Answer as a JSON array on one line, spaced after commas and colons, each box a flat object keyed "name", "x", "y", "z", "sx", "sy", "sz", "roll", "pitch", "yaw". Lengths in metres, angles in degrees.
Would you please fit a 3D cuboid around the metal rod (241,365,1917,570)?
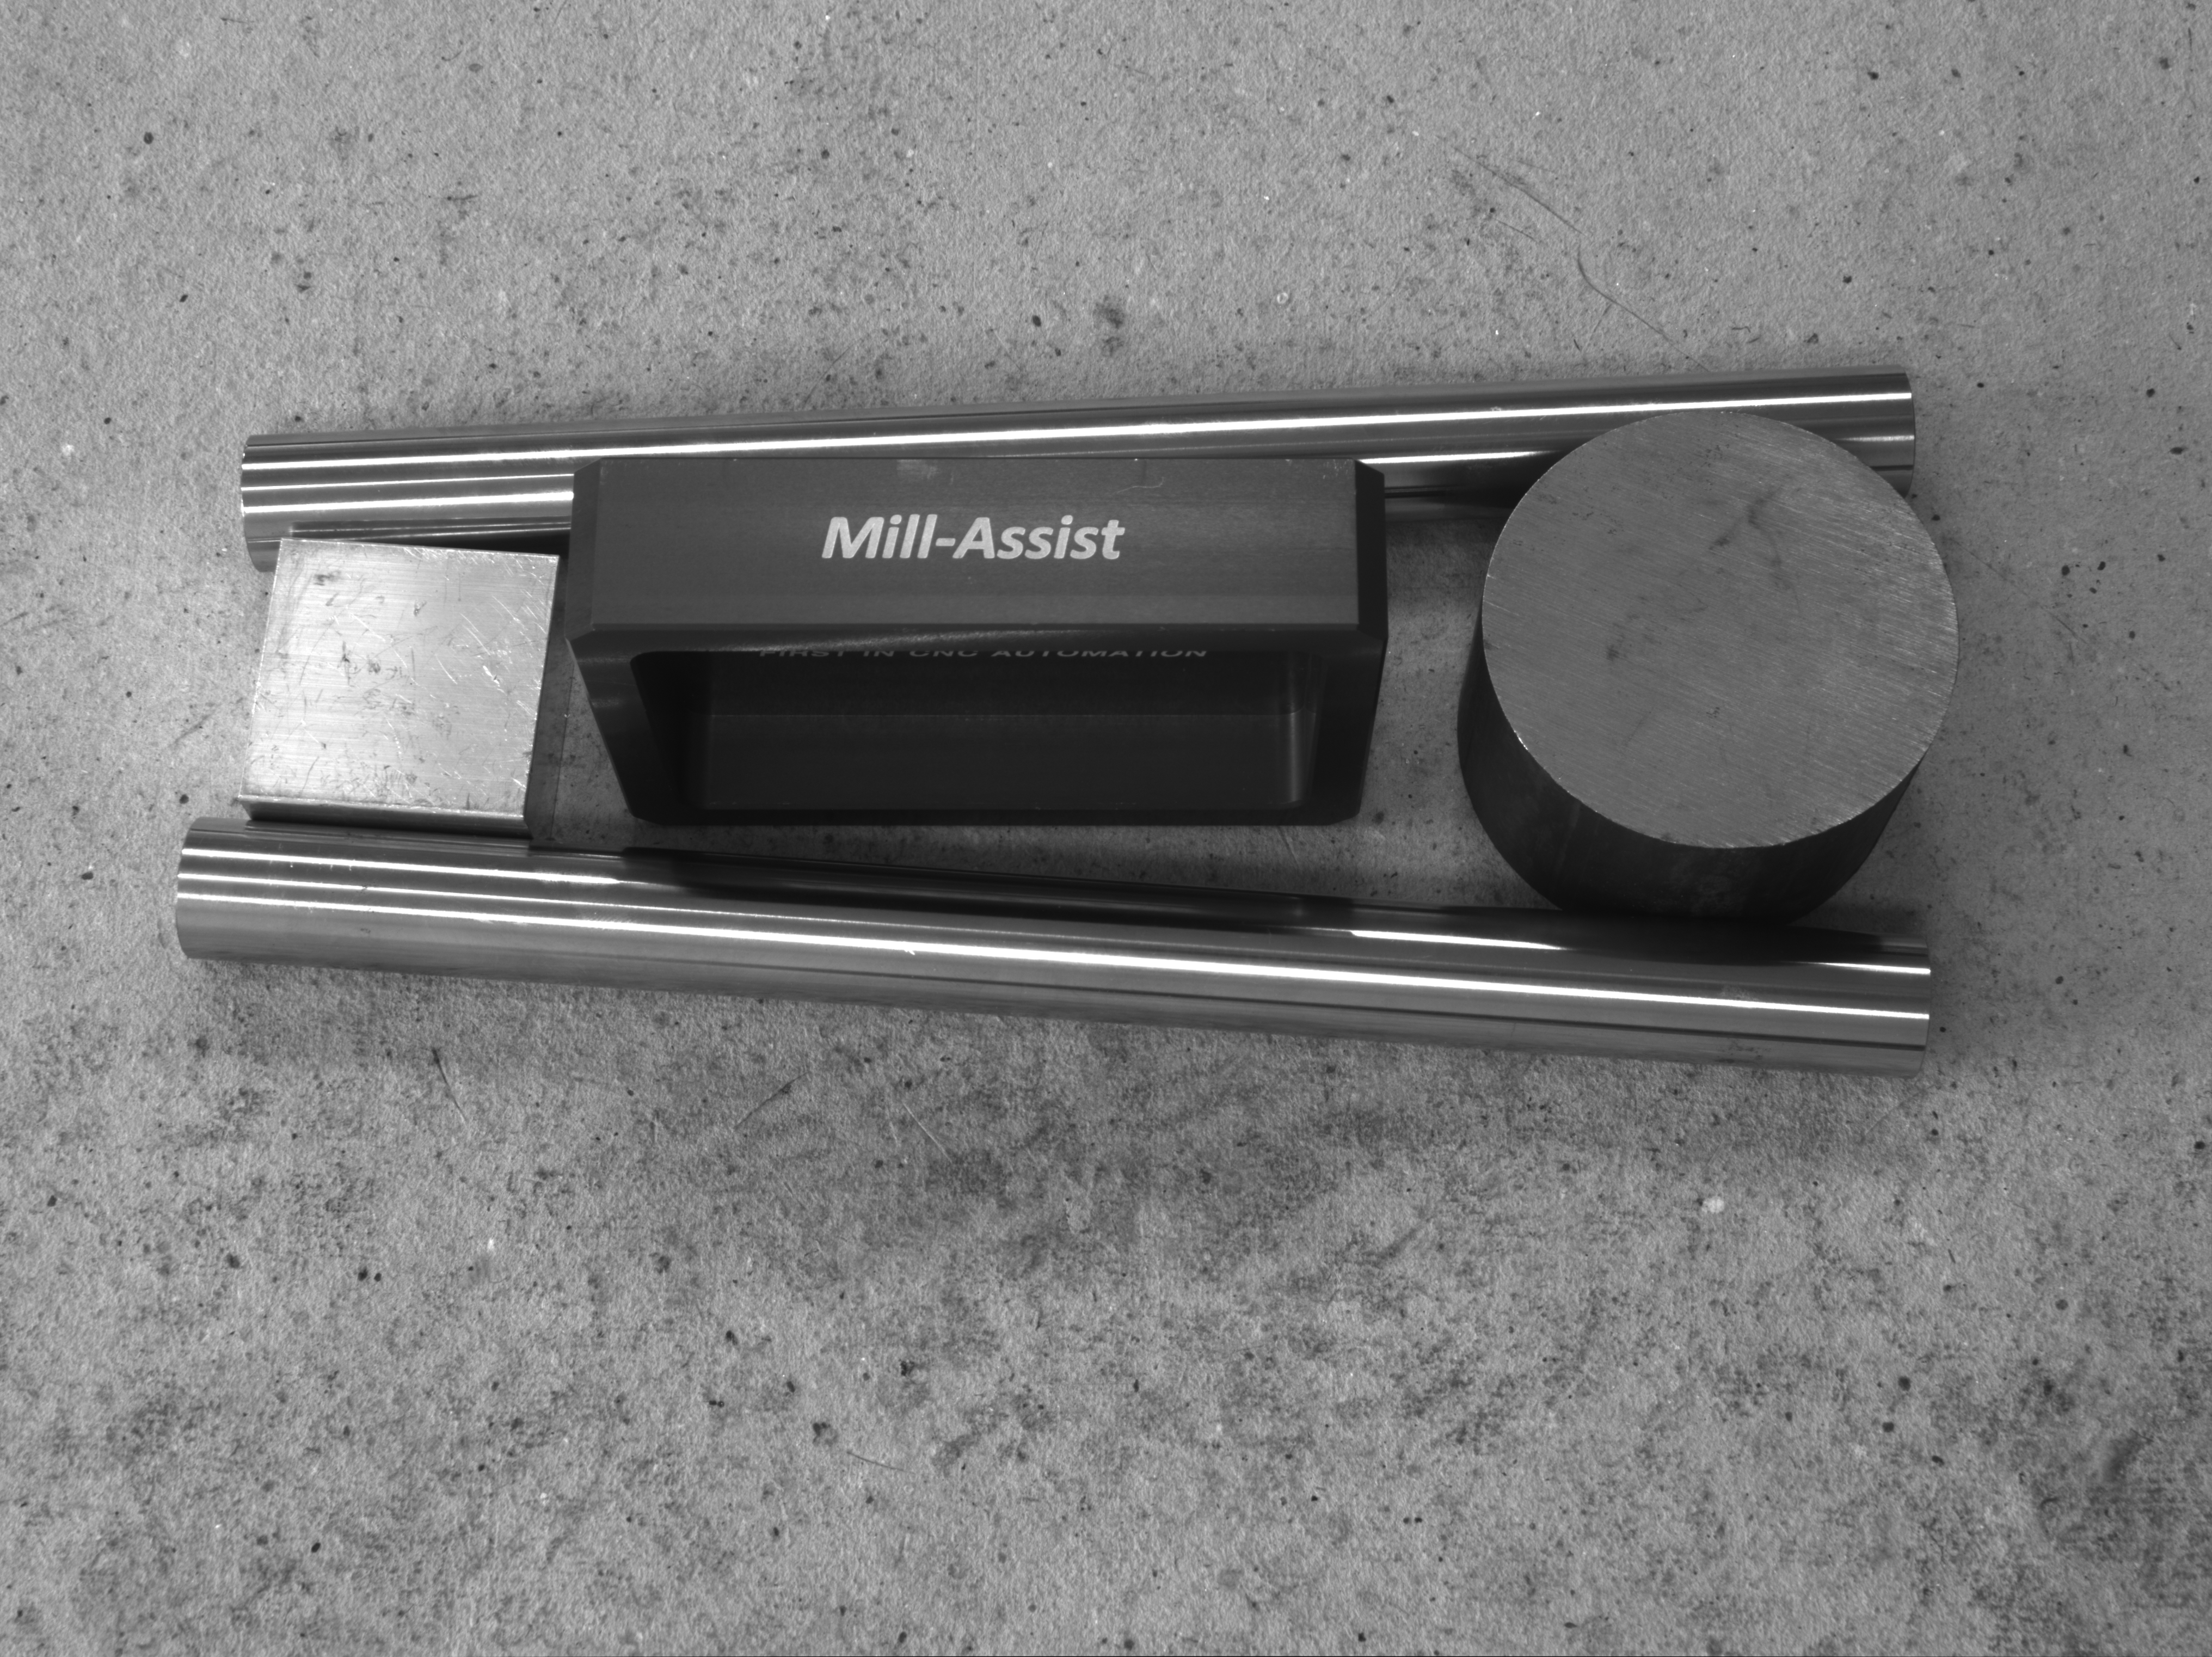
[{"name": "metal rod", "x": -0.004, "y": -0.066, "z": 0.670, "sx": 0.300, "sy": 0.025, "sz": 0.025, "roll": -2, "pitch": 70, "yaw": -1}]

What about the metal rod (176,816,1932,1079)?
[{"name": "metal rod", "x": -0.009, "y": 0.021, "z": 0.638, "sx": 0.300, "sy": 0.025, "sz": 0.025, "roll": 4, "pitch": 70, "yaw": 1}]

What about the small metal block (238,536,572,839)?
[{"name": "small metal block", "x": -0.123, "y": -0.022, "z": 0.655, "sx": 0.050, "sy": 0.025, "sz": 0.050, "roll": 4, "pitch": 70, "yaw": 2}]

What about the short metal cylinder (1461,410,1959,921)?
[{"name": "short metal cylinder", "x": 0.103, "y": -0.026, "z": 0.641, "sx": 0.080, "sy": 0.050, "sz": 0.080, "roll": 0, "pitch": 70, "yaw": 0}]

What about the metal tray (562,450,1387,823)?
[{"name": "metal tray", "x": -0.020, "y": -0.031, "z": 0.621, "sx": 0.130, "sy": 0.090, "sz": 0.030, "roll": 0, "pitch": 70, "yaw": 1}]
